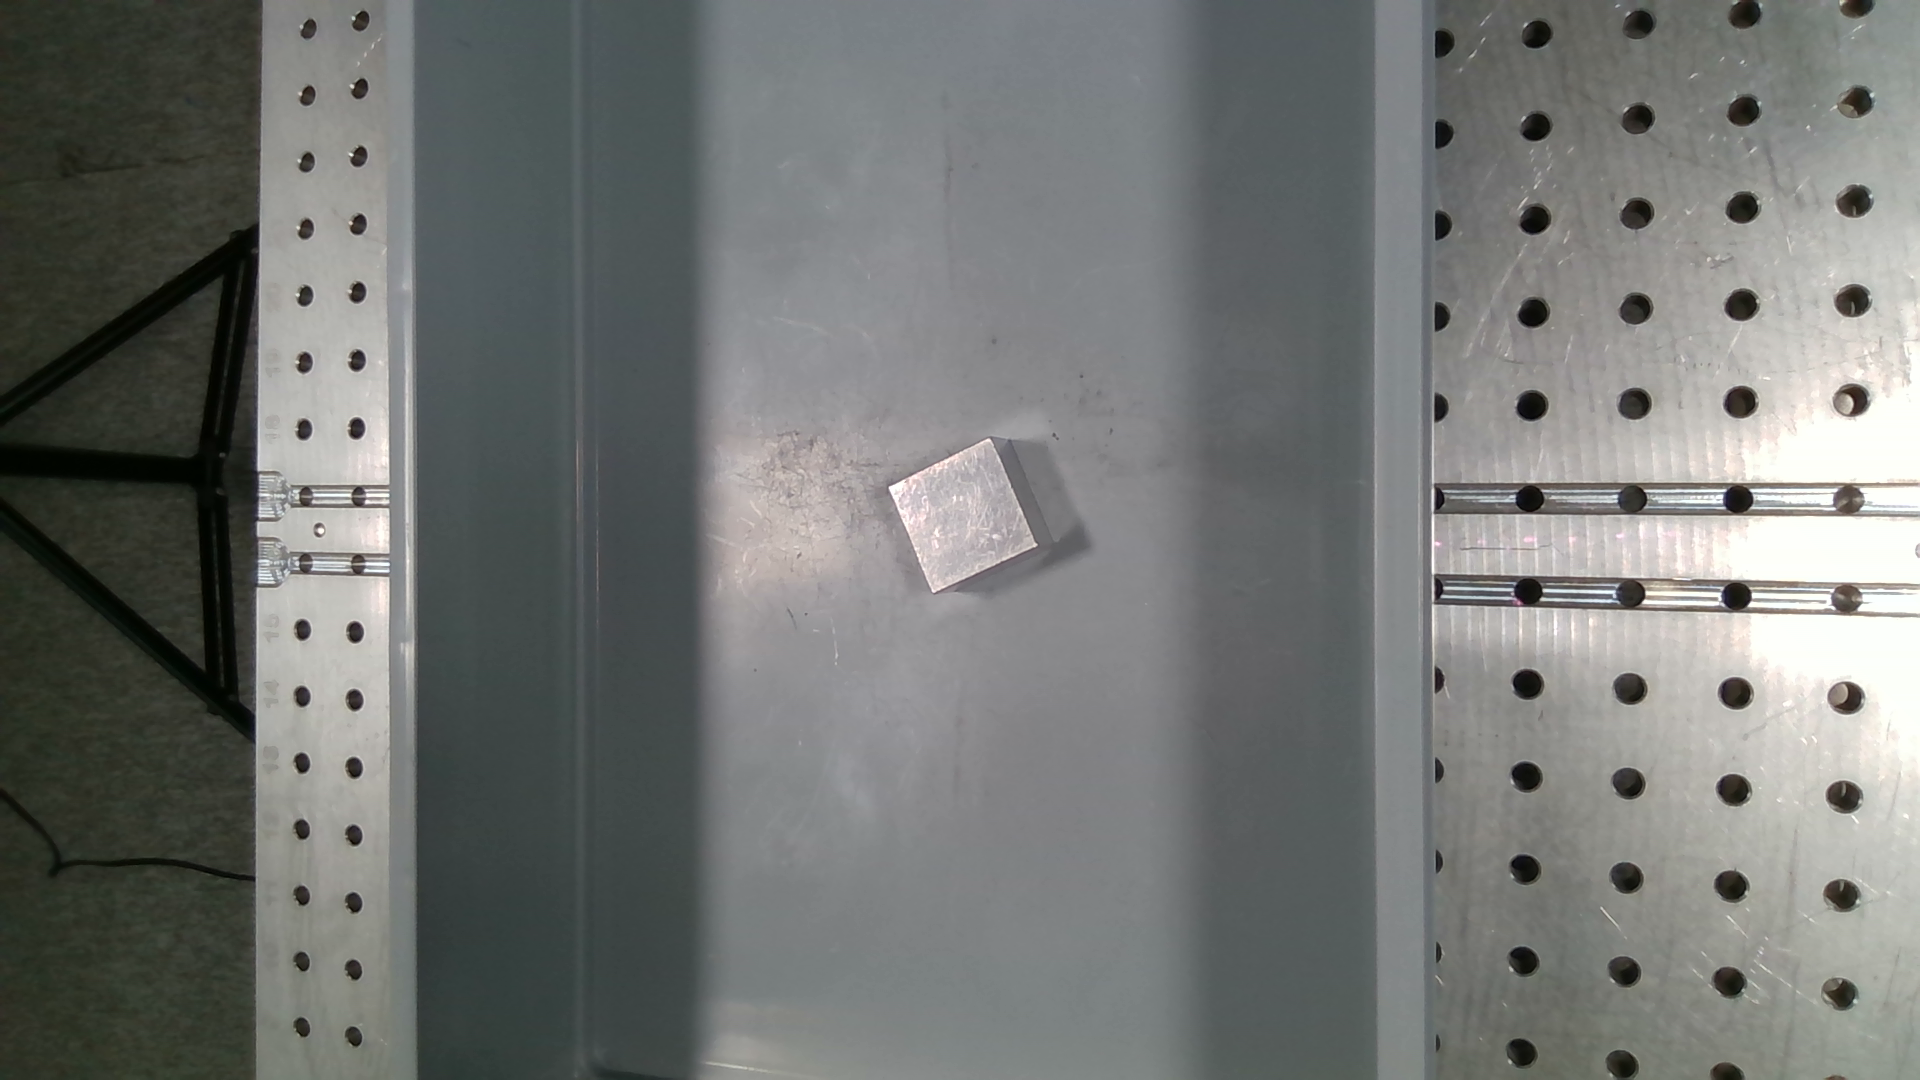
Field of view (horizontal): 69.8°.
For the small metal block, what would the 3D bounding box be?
[{"bbox_3d":[0.005,-0.010,0.581,0.050,0.025,0.050,-25,82,19],"label":"small metal block"}]
